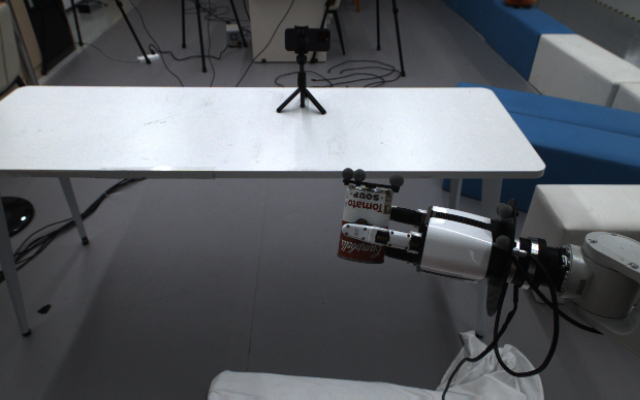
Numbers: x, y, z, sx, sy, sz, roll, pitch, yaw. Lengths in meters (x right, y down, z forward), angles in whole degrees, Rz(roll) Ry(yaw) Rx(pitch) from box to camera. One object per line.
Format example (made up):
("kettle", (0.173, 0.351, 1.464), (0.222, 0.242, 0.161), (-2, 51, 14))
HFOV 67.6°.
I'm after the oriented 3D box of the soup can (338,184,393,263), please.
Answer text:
("soup can", (0.066, 0.032, 0.683), (0.067, 0.101, 0.067), (7, 4, 0))
